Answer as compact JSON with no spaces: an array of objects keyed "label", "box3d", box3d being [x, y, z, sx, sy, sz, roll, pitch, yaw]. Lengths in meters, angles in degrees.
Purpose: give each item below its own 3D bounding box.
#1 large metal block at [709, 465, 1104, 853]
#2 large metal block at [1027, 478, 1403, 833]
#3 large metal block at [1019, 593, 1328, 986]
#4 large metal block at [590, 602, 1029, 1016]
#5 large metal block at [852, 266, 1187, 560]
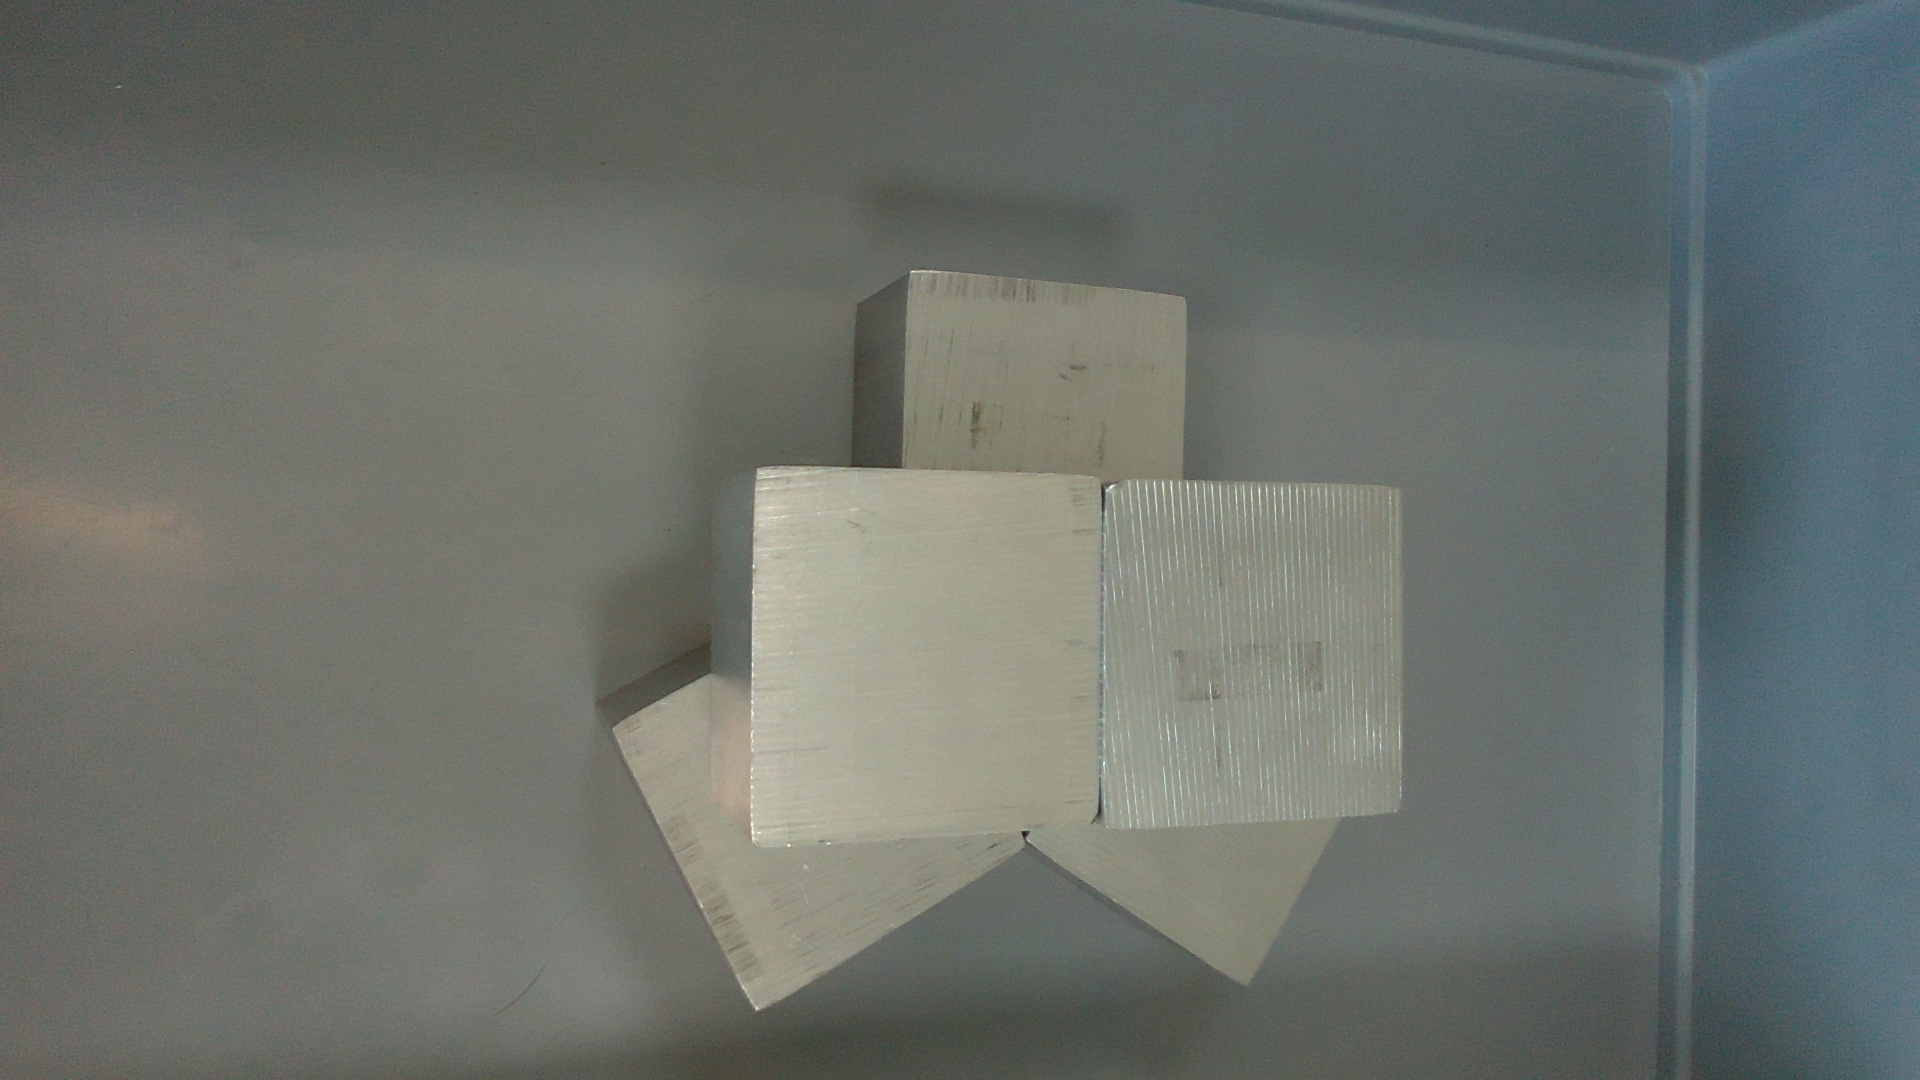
[{"label":"large metal block","box3d":[-0.014,0.025,0.321,0.080,0.050,0.080,1,90,-20]},{"label":"large metal block","box3d":[0.062,0.026,0.347,0.080,0.050,0.080,1,90,-20]},{"label":"large metal block","box3d":[0.060,0.068,0.400,0.080,0.050,0.080,36,79,-16]},{"label":"large metal block","box3d":[-0.041,0.062,0.364,0.080,0.050,0.080,-28,99,-18]},{"label":"large metal block","box3d":[0.015,-0.028,0.384,0.080,0.050,0.080,2,90,-20]}]
